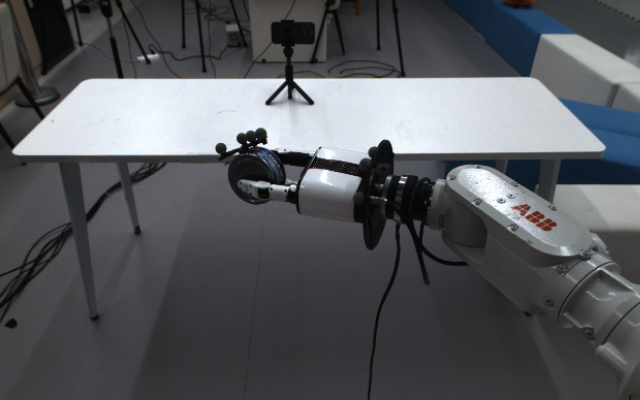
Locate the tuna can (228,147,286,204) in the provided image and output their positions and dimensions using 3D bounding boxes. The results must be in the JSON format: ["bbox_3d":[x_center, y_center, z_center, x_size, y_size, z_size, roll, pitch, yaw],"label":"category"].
[{"bbox_3d":[-0.095,-0.031,0.744,0.085,0.085,0.034,15,30,17],"label":"tuna can"}]
